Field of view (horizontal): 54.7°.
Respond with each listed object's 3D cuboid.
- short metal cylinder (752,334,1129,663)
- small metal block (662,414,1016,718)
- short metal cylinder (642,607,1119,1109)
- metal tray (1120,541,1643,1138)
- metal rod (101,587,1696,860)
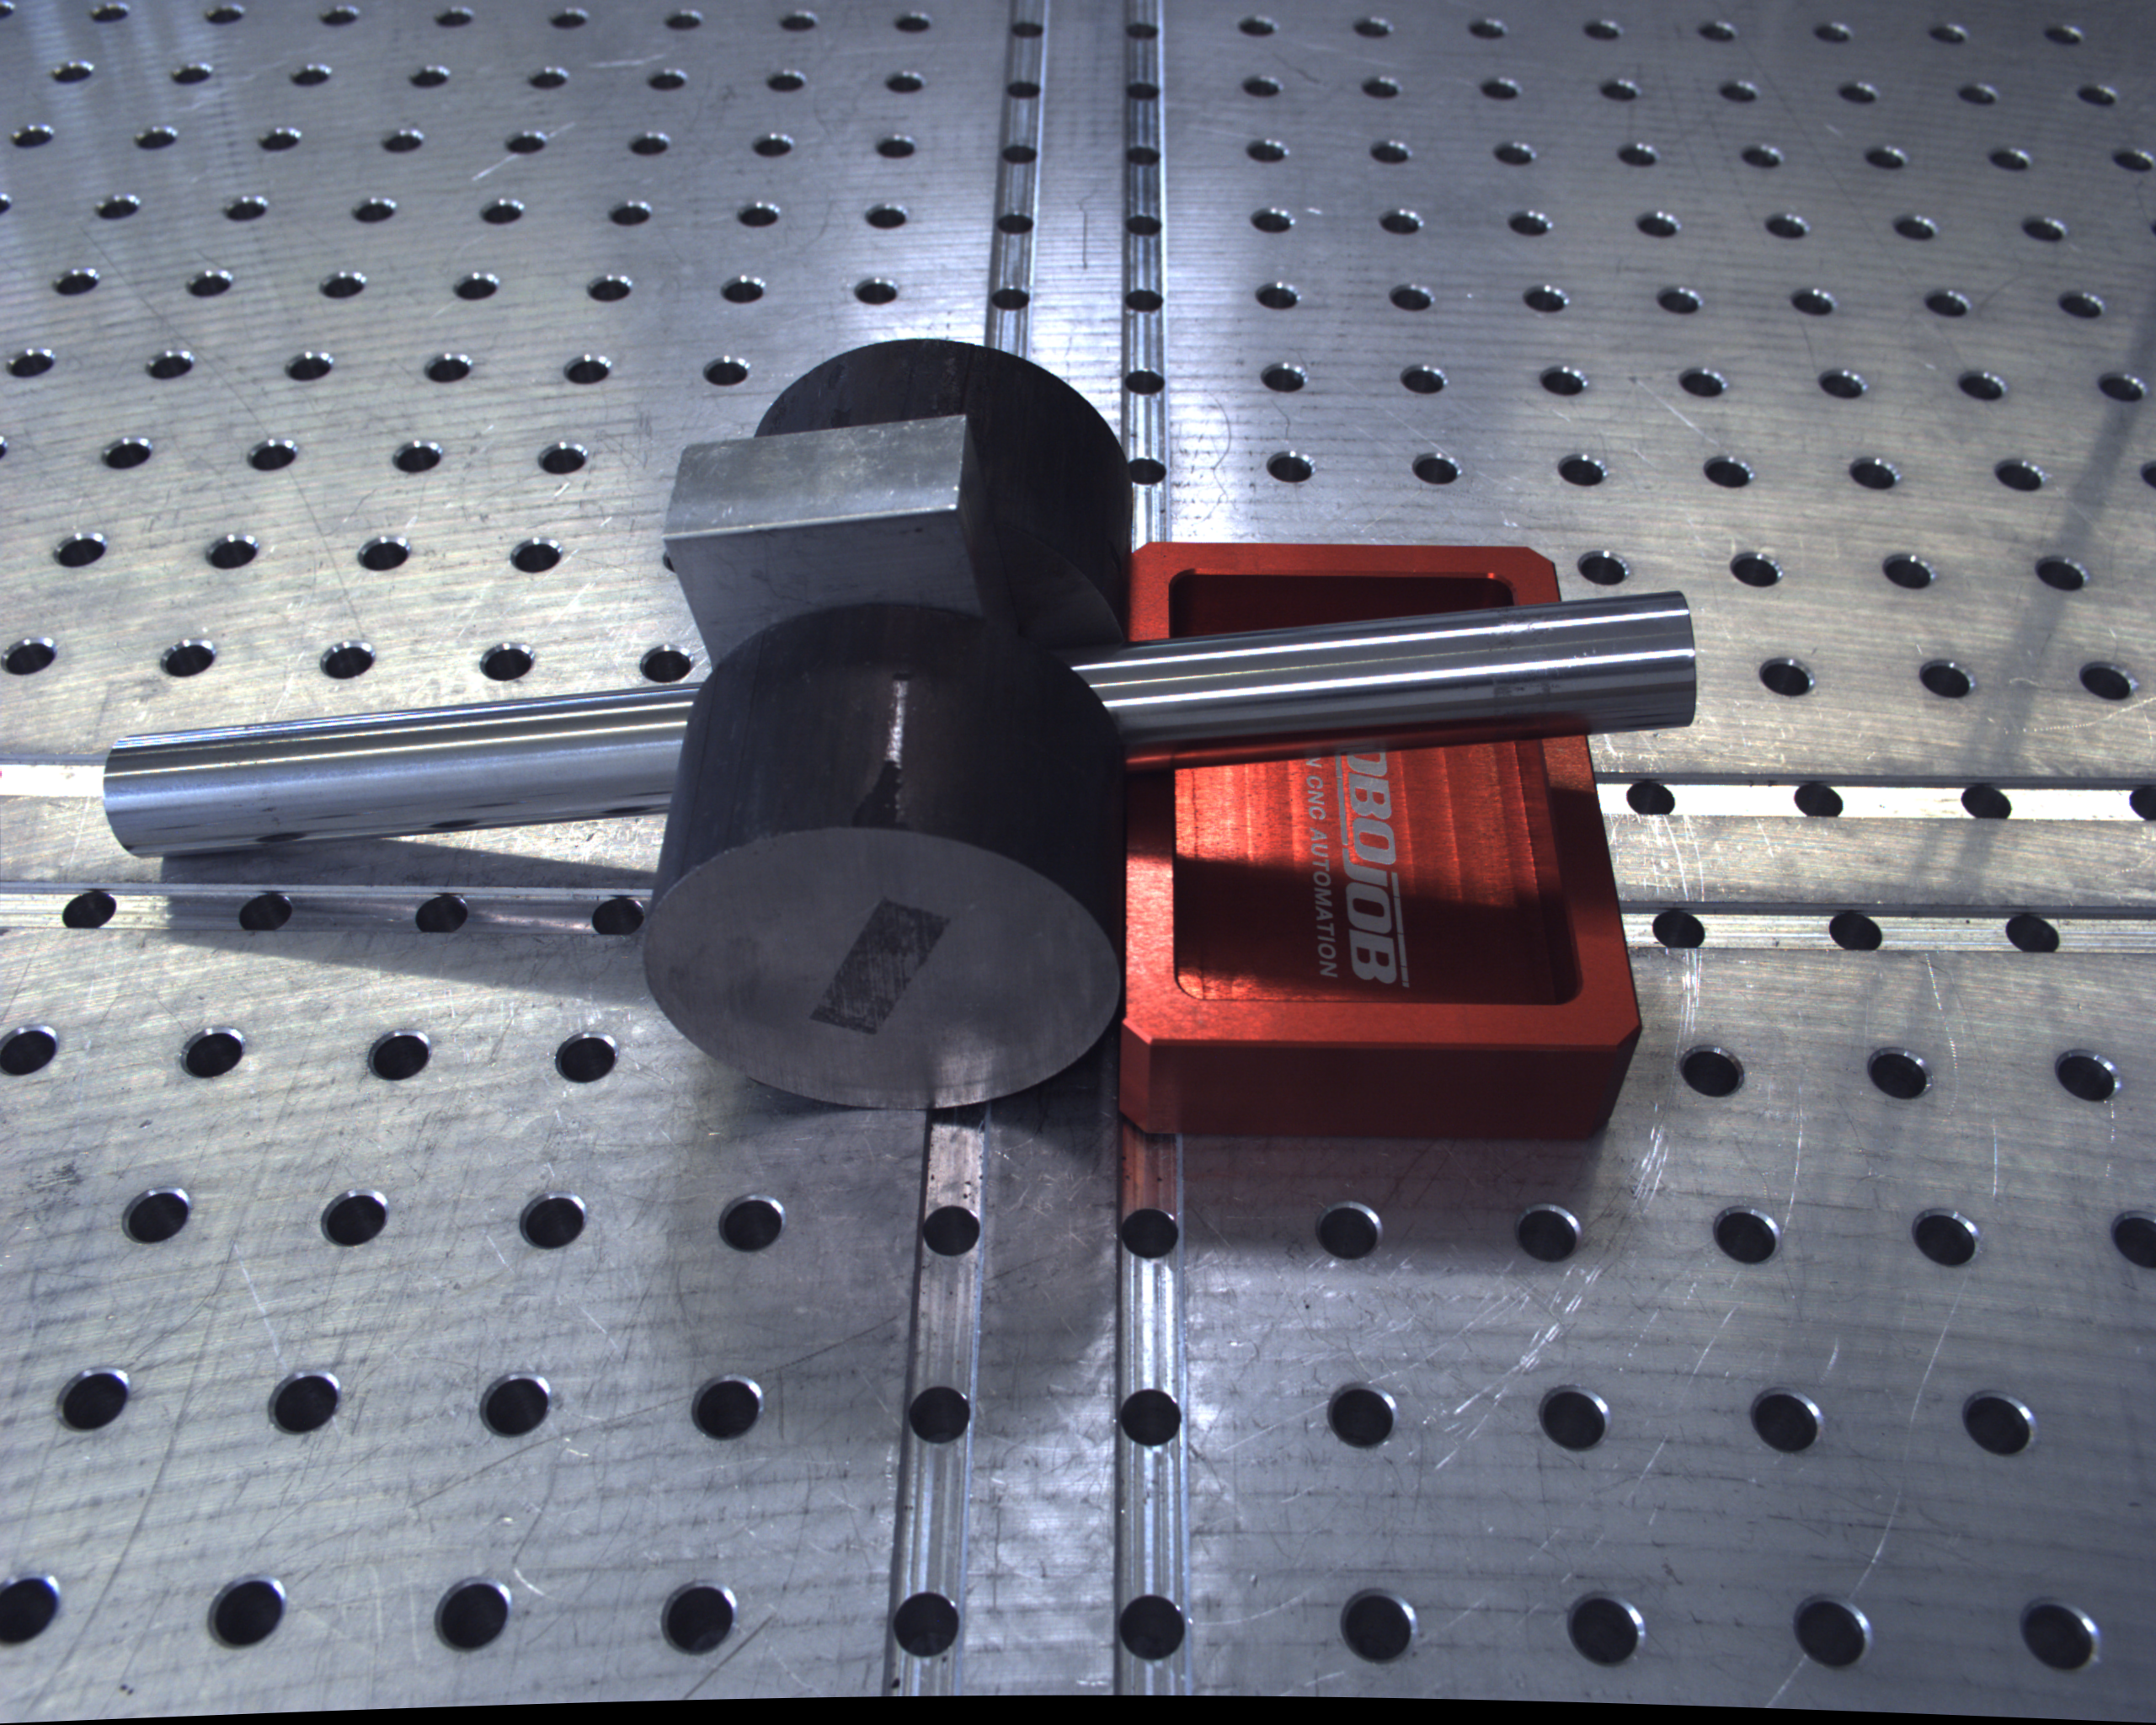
[{"bbox_3d":[-0.030,-0.058,0.418,0.081,0.080,0.050,1,50,0],"label":"short metal cylinder"},{"bbox_3d":[-0.040,-0.049,0.371,0.050,0.050,0.025,-5,50,7],"label":"small metal block"},{"bbox_3d":[-0.033,0.001,0.370,0.080,0.080,0.050,1,50,1],"label":"short metal cylinder"},{"bbox_3d":[0.054,-0.009,0.412,0.091,0.030,0.130,1,50,1],"label":"metal tray"},{"bbox_3d":[-0.039,-0.025,0.398,0.301,0.025,0.025,-5,50,7],"label":"metal rod"}]
